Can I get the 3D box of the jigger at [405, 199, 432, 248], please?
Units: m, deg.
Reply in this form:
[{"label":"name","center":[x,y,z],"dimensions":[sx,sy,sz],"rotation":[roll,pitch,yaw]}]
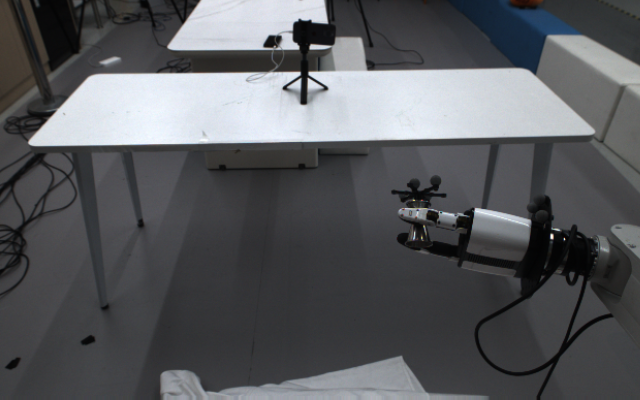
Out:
[{"label":"jigger","center":[0.156,0.036,0.774],"dimensions":[0.043,0.043,0.071],"rotation":[3,71,2]}]
